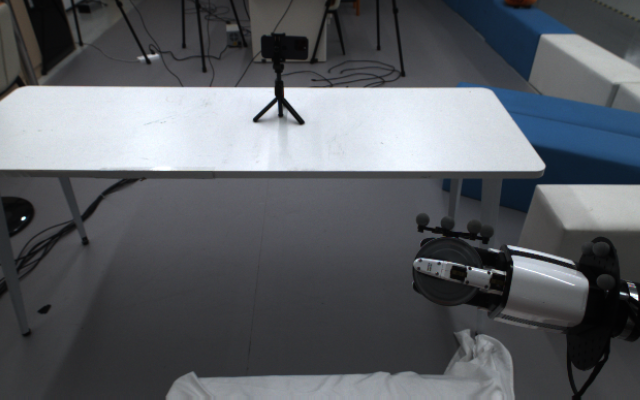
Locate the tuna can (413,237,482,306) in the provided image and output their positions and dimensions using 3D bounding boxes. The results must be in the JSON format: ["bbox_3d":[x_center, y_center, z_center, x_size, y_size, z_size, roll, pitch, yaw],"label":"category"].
[{"bbox_3d":[0.162,0.084,0.610,0.085,0.085,0.034,10,-6,12],"label":"tuna can"}]
